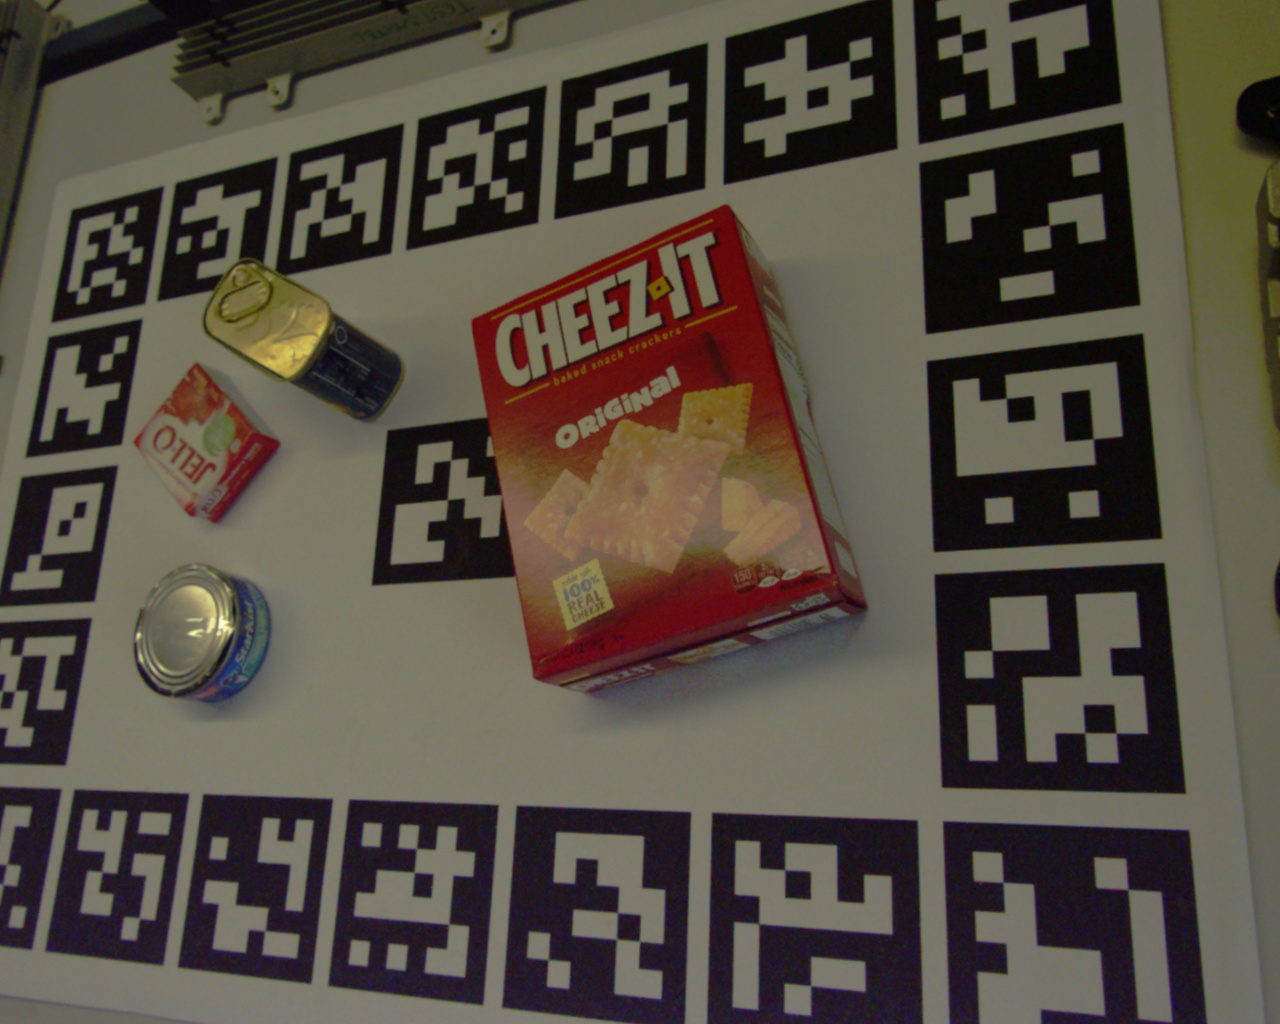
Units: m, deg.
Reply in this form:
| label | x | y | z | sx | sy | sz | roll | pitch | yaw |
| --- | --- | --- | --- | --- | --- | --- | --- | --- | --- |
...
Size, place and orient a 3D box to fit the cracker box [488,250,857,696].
| label | x | y | z | sx | sy | sz | roll | pitch | yaw |
| --- | --- | --- | --- | --- | --- | --- | --- | --- | --- |
| cracker box | 0.010 | -0.022 | 0.656 | 0.165 | 0.071 | 0.215 | -21 | 65 | 16 |

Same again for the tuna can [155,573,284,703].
| label | x | y | z | sx | sy | sz | roll | pitch | yaw |
| --- | --- | --- | --- | --- | --- | --- | --- | --- | --- |
| tuna can | -0.284 | 0.086 | 0.773 | 0.086 | 0.033 | 0.086 | -7 | 74 | 24 |

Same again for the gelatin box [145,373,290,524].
| label | x | y | z | sx | sy | sz | roll | pitch | yaw |
| --- | --- | --- | --- | --- | --- | --- | --- | --- | --- |
| gelatin box | -0.308 | -0.047 | 0.831 | 0.090 | 0.030 | 0.073 | 41 | 91 | 27 |

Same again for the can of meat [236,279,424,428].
| label | x | y | z | sx | sy | sz | roll | pitch | yaw |
| --- | --- | --- | --- | --- | --- | --- | --- | --- | --- |
| can of meat | -0.210 | -0.106 | 0.782 | 0.103 | 0.083 | 0.058 | 28 | 86 | 30 |
